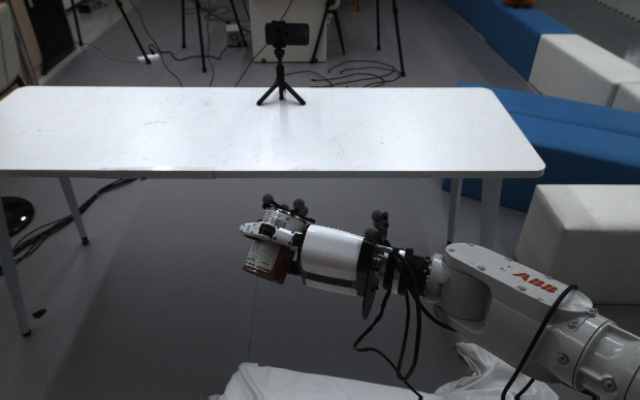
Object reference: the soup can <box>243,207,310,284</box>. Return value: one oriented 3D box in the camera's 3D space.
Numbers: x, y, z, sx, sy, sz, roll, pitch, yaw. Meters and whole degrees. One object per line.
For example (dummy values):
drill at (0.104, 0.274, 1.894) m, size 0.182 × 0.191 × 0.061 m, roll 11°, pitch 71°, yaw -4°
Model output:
soup can at (-0.068, 0.071, 0.738) m, size 0.067 × 0.067 × 0.101 m, roll 16°, pitch 75°, yaw 19°
